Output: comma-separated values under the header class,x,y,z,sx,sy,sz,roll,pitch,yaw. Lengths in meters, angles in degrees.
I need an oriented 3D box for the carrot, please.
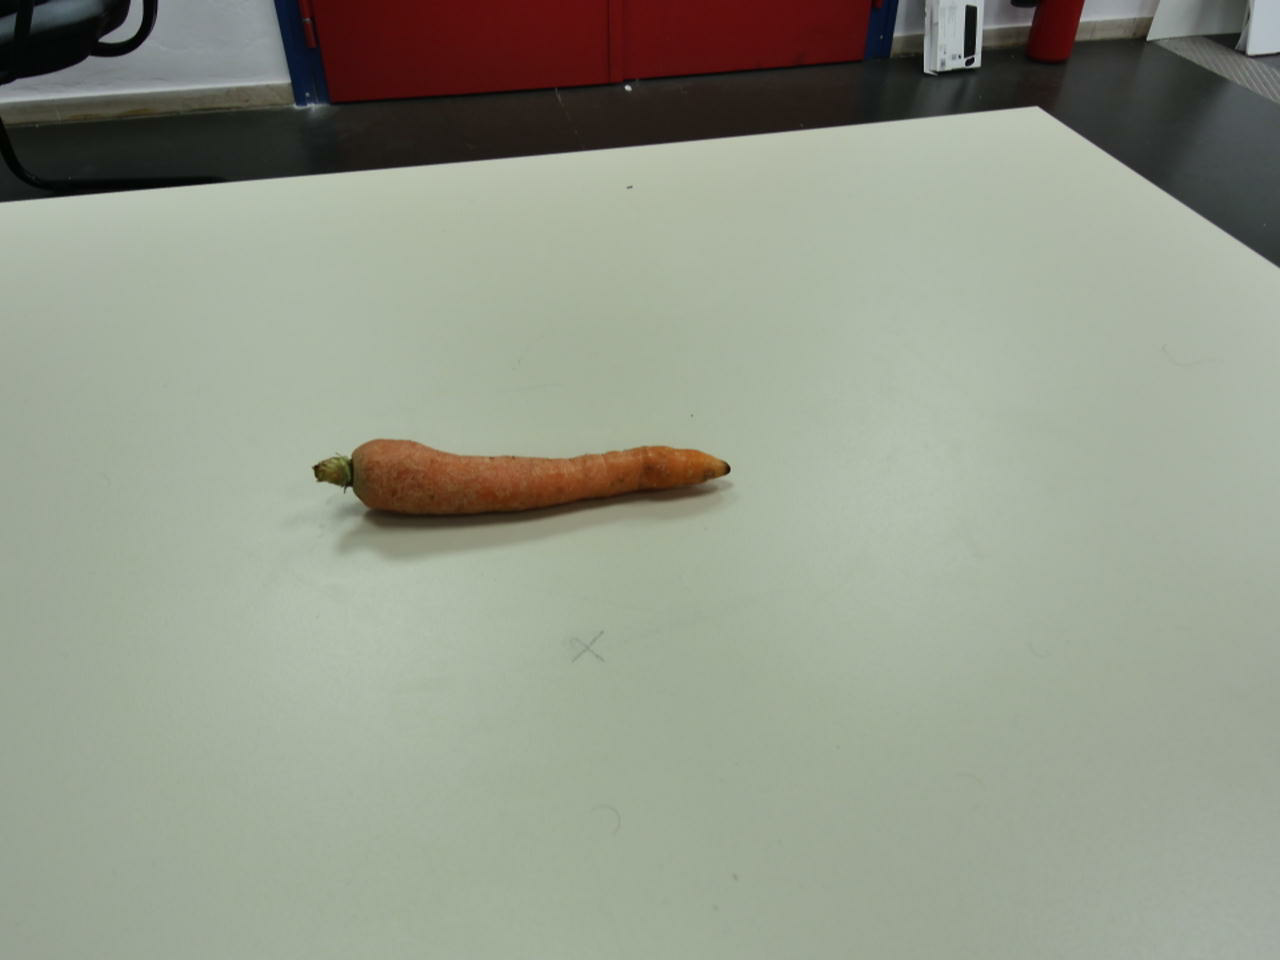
class,x,y,z,sx,sy,sz,roll,pitch,yaw
carrot,-0.046,-0.004,0.417,0.173,0.032,0.030,-3,38,-4
